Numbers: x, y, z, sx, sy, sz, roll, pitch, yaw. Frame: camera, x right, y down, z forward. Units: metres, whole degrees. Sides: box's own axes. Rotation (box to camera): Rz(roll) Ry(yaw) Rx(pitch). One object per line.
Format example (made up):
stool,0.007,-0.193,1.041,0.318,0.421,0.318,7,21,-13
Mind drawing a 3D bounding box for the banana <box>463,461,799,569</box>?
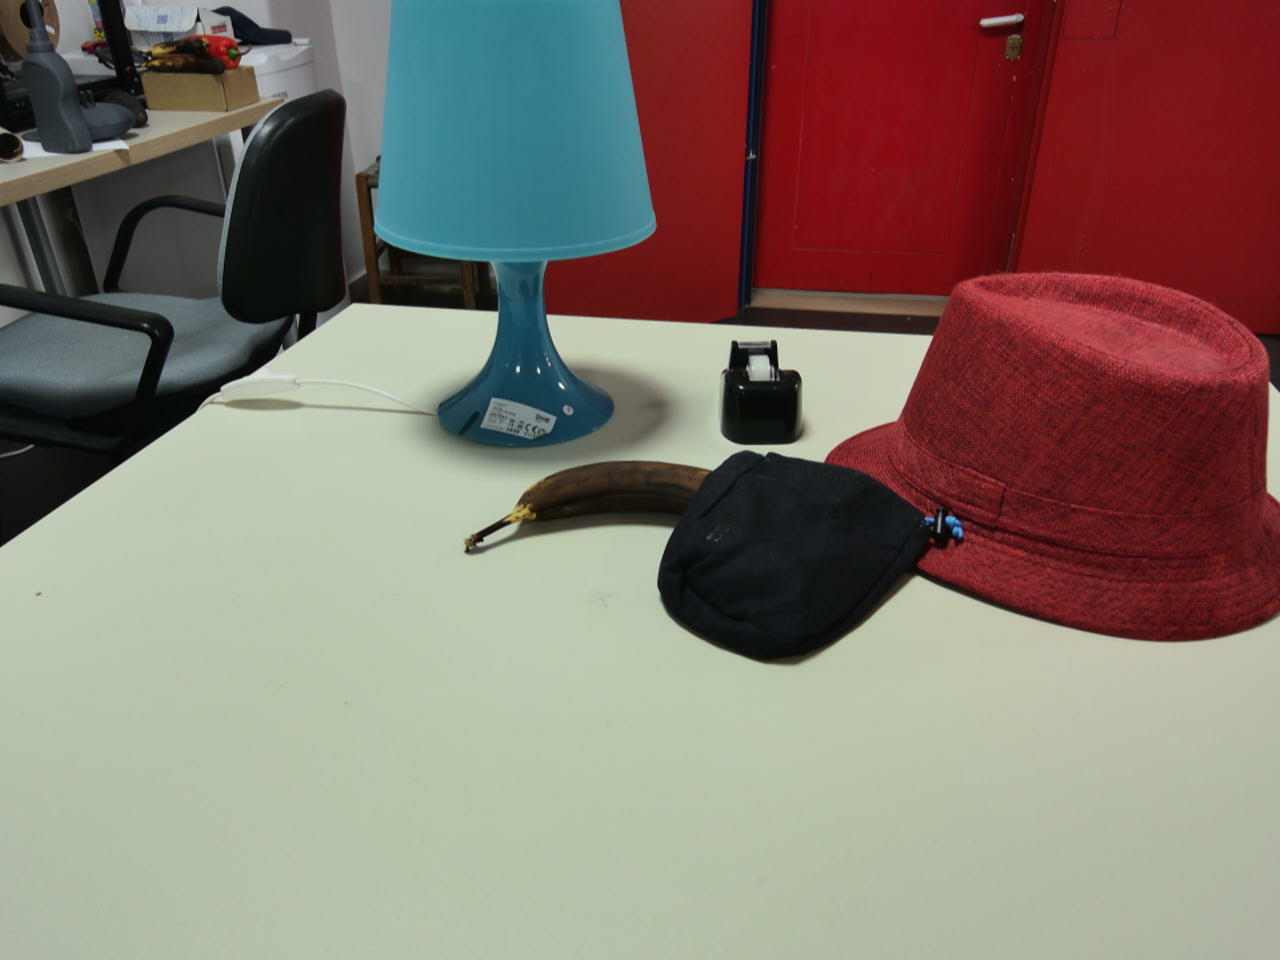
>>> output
banana,0.000,0.016,0.583,0.188,0.034,0.091,6,27,12
